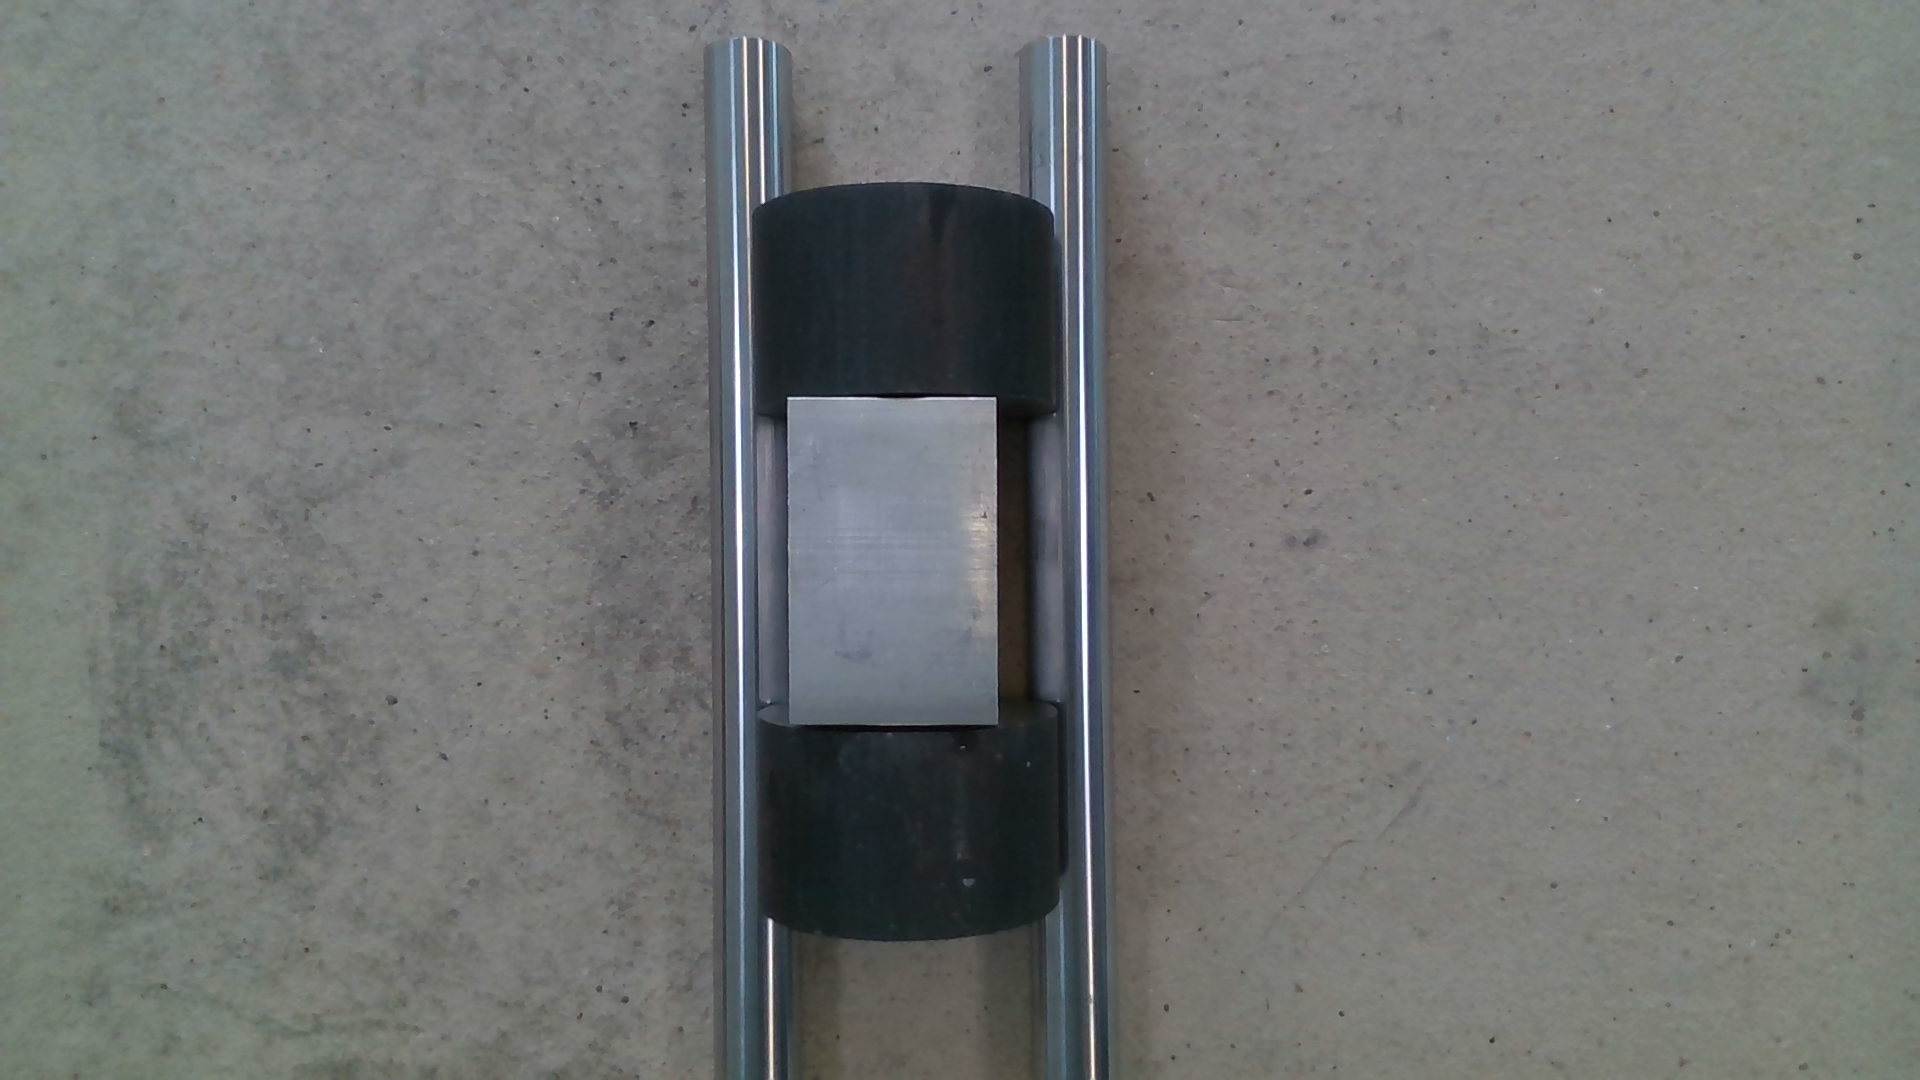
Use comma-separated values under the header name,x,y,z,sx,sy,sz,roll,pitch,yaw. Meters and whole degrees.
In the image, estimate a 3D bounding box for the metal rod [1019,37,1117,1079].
name,x,y,z,sx,sy,sz,roll,pitch,yaw
metal rod,0.031,0.010,0.396,0.025,0.025,0.300,-1,90,0

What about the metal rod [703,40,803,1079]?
name,x,y,z,sx,sy,sz,roll,pitch,yaw
metal rod,-0.059,0.011,0.396,0.025,0.025,0.300,-1,90,0

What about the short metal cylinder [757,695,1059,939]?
name,x,y,z,sx,sy,sz,roll,pitch,yaw
short metal cylinder,-0.014,0.070,0.368,0.080,0.080,0.050,-1,90,0

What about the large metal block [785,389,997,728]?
name,x,y,z,sx,sy,sz,roll,pitch,yaw
large metal block,-0.016,0.004,0.366,0.050,0.080,0.080,0,90,0

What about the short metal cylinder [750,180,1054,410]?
name,x,y,z,sx,sy,sz,roll,pitch,yaw
short metal cylinder,-0.015,-0.061,0.367,0.080,0.080,0.050,-1,90,0
